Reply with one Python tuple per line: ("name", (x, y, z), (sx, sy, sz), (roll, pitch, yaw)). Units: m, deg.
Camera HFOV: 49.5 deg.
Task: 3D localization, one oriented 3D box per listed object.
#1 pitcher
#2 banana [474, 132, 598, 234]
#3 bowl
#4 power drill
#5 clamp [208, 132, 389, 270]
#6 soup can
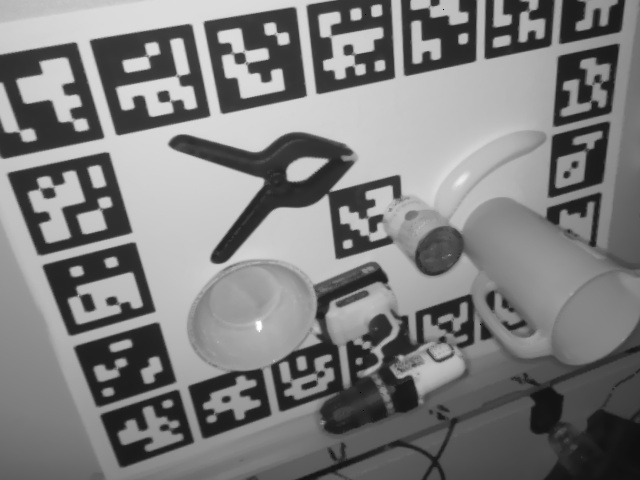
("pitcher", (0.316, 0.057, 0.861), (0.189, 0.242, 0.133), (-36, 125, -1))
("banana", (0.272, -0.086, 0.896), (0.197, 0.039, 0.074), (-37, 130, 1))
("bowl", (-0.044, 0.088, 0.843), (0.163, 0.055, 0.160), (-9, 116, -18))
("power drill", (0.093, 0.145, 0.826), (0.186, 0.186, 0.057), (-19, 120, -10))
("clamp", (-0.009, -0.066, 0.785), (0.204, 0.036, 0.164), (-18, 116, -13))
("soup can", (0.172, 0.004, 0.861), (0.068, 0.102, 0.067), (-12, 127, -16))
